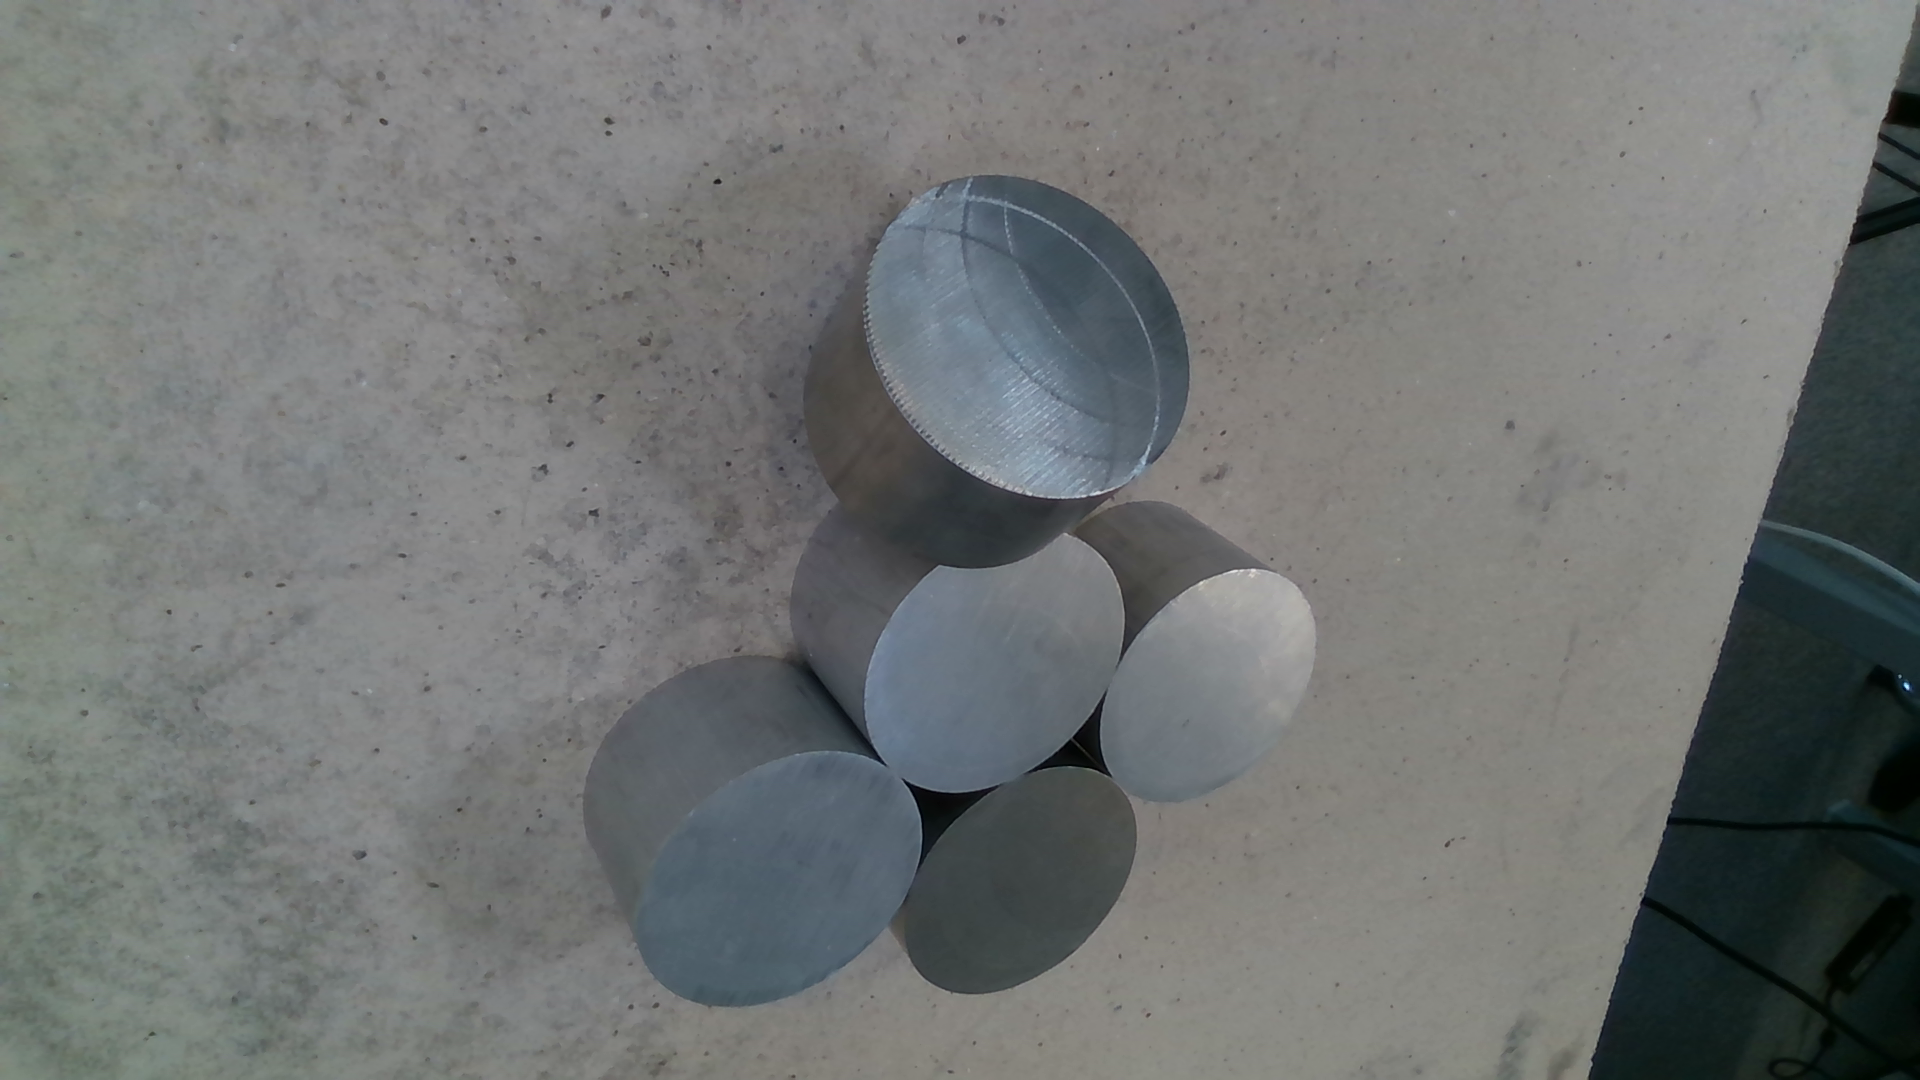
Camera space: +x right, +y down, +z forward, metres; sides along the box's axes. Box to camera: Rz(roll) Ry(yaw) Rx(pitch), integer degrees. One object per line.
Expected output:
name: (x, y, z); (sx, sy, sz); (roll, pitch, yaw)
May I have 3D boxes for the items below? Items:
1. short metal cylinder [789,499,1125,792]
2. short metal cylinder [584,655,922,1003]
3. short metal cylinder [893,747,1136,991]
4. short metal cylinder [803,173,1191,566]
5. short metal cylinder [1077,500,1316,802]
short metal cylinder: (-0.001, 0.023, 0.386); (0.080, 0.050, 0.080); (-14, 122, -25)
short metal cylinder: (-0.058, 0.079, 0.382); (0.080, 0.050, 0.080); (-14, 122, -25)
short metal cylinder: (0.007, 0.091, 0.428); (0.080, 0.050, 0.080); (-14, 122, -25)
short metal cylinder: (0.008, -0.039, 0.331); (0.080, 0.050, 0.080); (8, 69, -20)
short metal cylinder: (0.063, 0.034, 0.431); (0.080, 0.050, 0.080); (-14, 122, -25)
